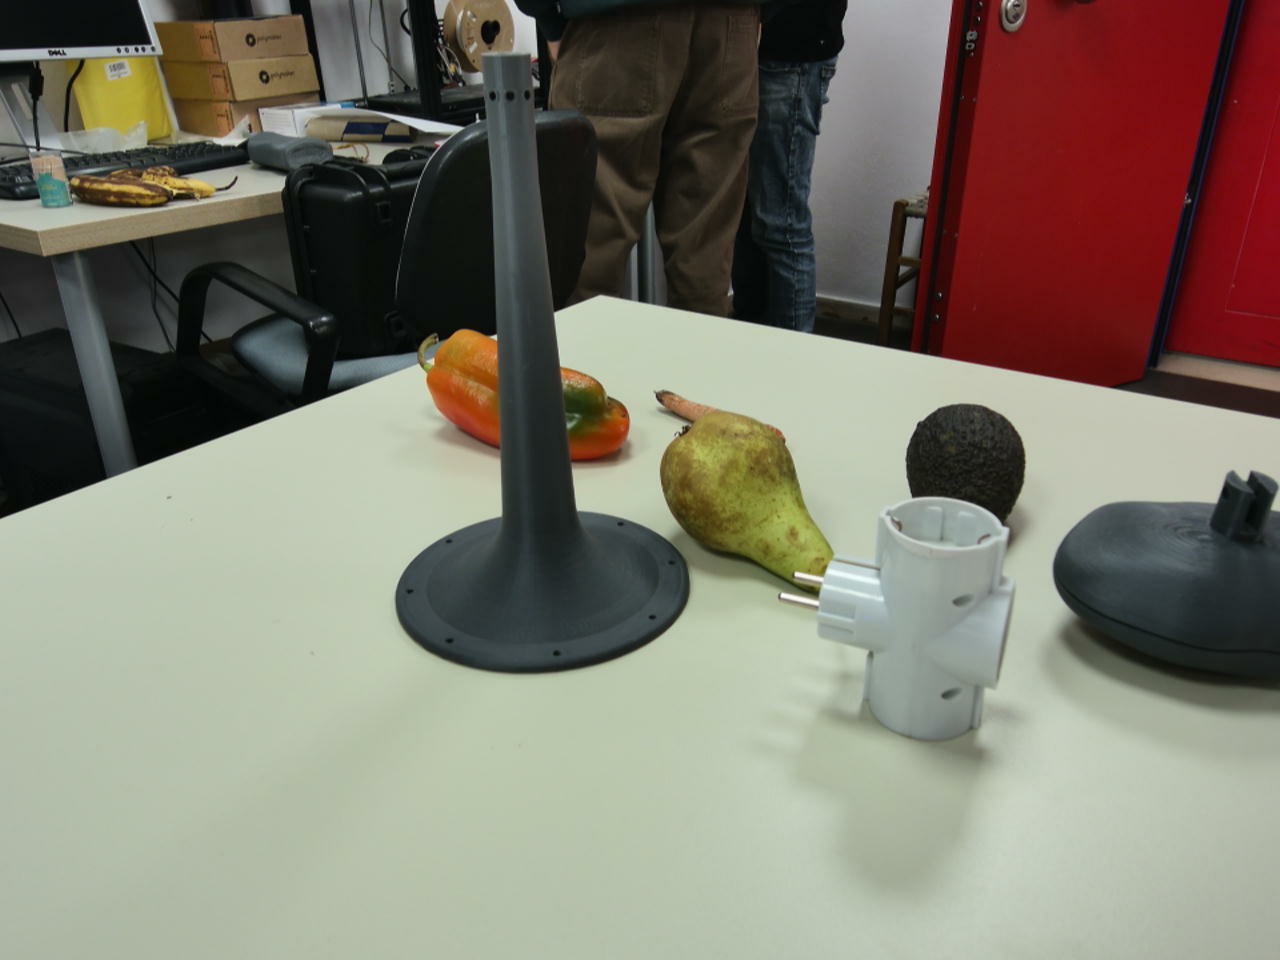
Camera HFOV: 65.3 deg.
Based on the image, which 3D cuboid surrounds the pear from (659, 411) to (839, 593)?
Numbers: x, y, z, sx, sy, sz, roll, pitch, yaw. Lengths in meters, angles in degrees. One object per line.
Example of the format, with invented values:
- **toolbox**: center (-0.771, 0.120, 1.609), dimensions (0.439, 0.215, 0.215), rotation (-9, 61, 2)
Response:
- **pear**: center (0.073, 0.010, 0.524), dimensions (0.144, 0.075, 0.071), rotation (21, 32, 39)
